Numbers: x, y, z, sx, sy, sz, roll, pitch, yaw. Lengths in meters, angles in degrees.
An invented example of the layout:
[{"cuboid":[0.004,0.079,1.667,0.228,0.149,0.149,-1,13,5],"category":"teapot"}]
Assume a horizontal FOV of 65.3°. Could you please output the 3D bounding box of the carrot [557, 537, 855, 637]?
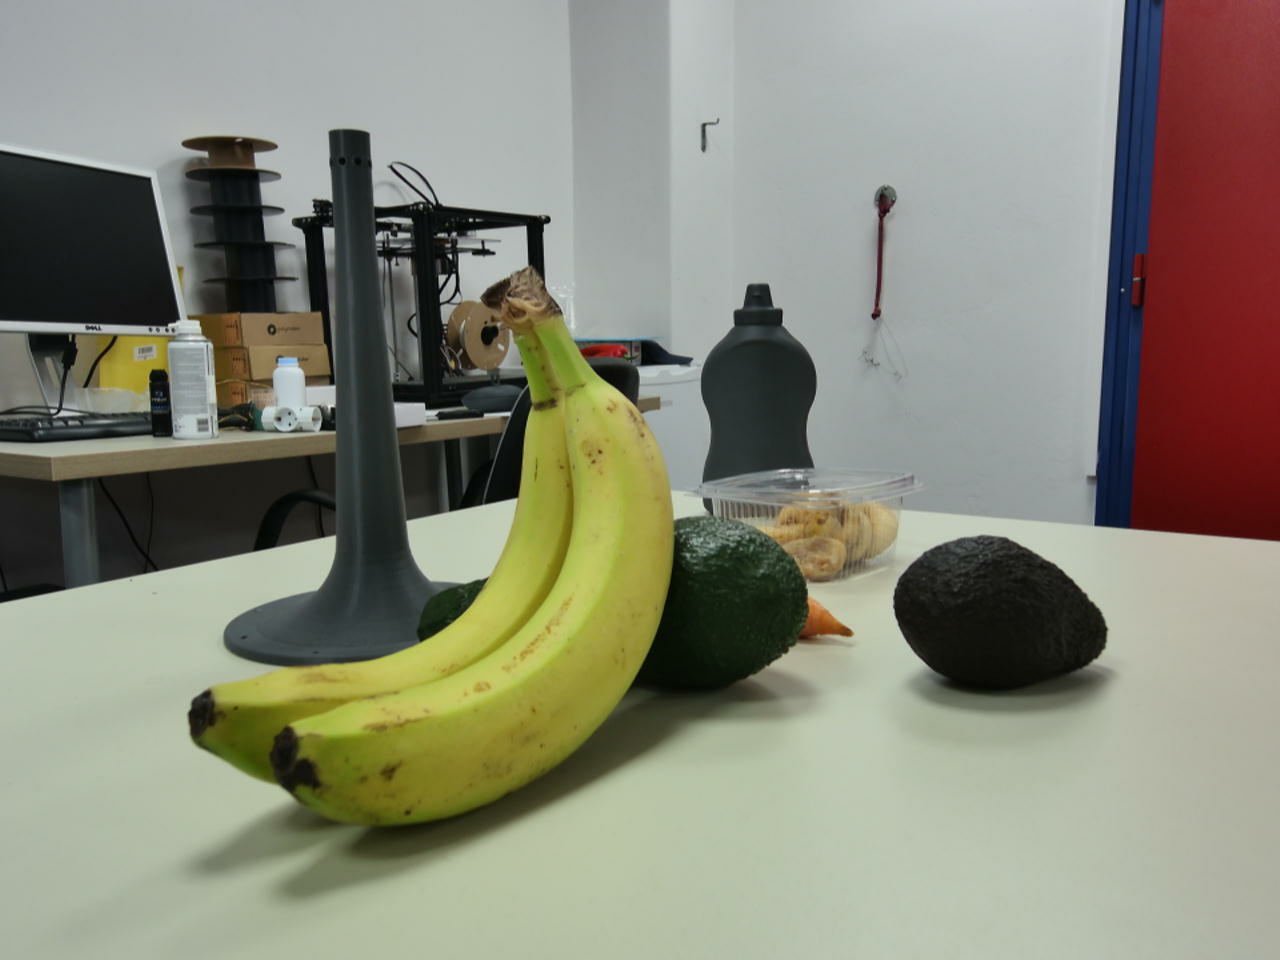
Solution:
[{"cuboid":[0.033,0.061,0.582,0.196,0.041,0.039,4,7,35],"category":"carrot"}]
